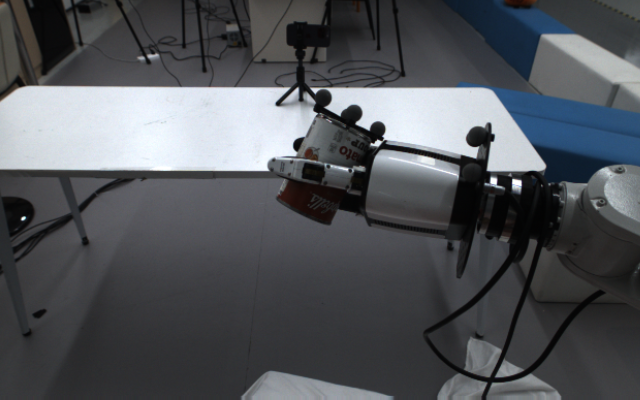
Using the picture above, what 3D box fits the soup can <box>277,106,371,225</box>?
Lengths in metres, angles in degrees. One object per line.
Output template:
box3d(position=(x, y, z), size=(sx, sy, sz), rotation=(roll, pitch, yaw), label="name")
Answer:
box3d(position=(0.006, -0.032, 0.521), size=(0.067, 0.101, 0.067), rotation=(26, 5, -3), label="soup can")
